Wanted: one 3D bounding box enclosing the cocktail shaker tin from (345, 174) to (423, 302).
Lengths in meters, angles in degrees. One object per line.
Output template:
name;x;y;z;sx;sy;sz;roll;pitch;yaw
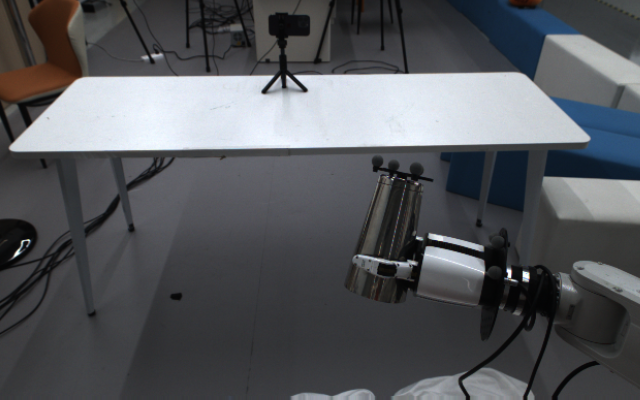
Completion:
cocktail shaker tin;0.099;0.053;0.705;0.093;0.170;0.093;13;4;-1
